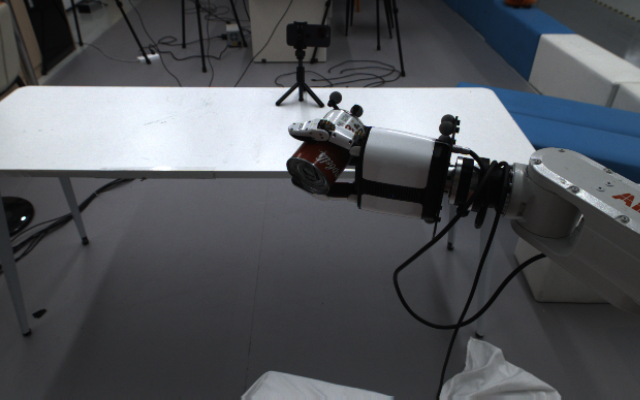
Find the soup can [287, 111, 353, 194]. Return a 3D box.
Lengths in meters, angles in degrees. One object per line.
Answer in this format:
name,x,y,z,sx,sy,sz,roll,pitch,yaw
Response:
soup can,0.012,-0.067,0.652,0.067,0.067,0.101,22,61,26
